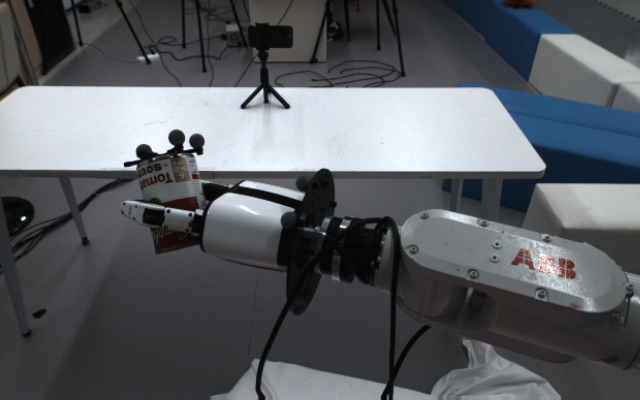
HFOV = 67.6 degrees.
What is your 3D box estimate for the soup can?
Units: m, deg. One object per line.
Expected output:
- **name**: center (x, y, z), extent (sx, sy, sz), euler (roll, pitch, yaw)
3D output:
- **soup can**: center (-0.162, 0.005, 0.552), extent (0.067, 0.101, 0.067), euler (-14, -2, -1)
